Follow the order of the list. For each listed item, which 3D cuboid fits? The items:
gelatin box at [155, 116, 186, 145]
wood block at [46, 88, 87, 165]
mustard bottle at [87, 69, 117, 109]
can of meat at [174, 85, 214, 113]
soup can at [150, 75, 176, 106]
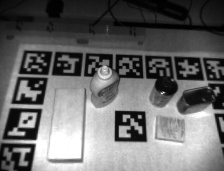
[{"bbox_3d":[0.183,0.140,0.677,0.089,0.030,0.073,9,66,4],"label":"gelatin box"},{"bbox_3d":[-0.129,0.120,0.639,0.091,0.090,0.205,3,60,-3],"label":"wood block"},{"bbox_3d":[-0.030,0.007,0.648,0.097,0.192,0.058,-23,66,-14],"label":"mustard bottle"},{"bbox_3d":[0.261,0.047,0.702,0.102,0.084,0.057,-11,66,-11],"label":"can of meat"},{"bbox_3d":[0.164,0.017,0.690,0.068,0.102,0.067,1,66,-1],"label":"soup can"}]
